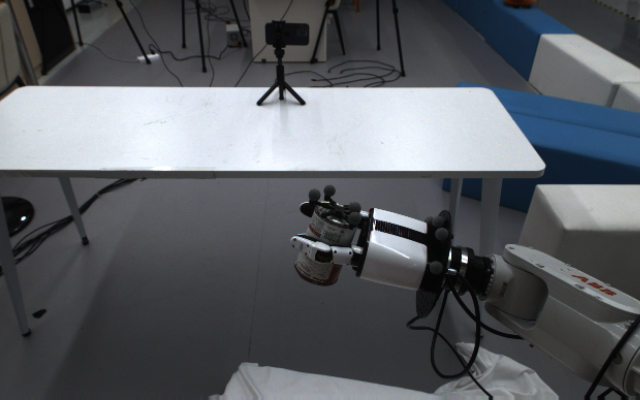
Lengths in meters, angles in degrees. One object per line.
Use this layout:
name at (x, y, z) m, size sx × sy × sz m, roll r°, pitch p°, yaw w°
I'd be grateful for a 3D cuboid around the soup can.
soup can at (0.010, 0.064, 0.698) m, size 0.067 × 0.101 × 0.067 m, roll 17°, pitch 21°, yaw -7°
